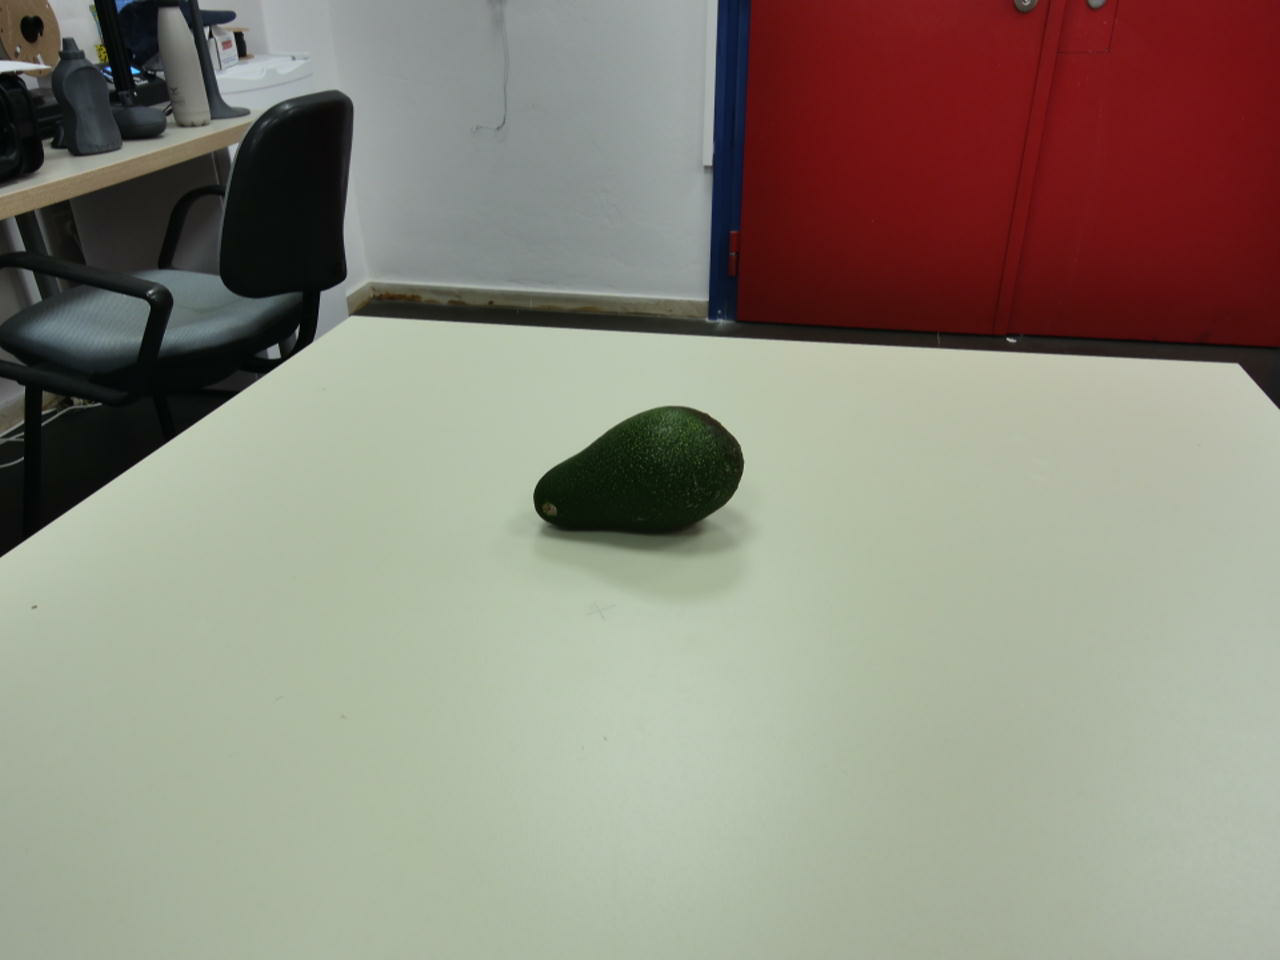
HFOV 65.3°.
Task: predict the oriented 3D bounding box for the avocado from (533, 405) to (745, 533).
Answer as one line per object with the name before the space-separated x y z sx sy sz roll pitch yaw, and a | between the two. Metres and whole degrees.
avocado | 0.001 -0.009 0.597 0.123 0.076 0.074 8 27 16
